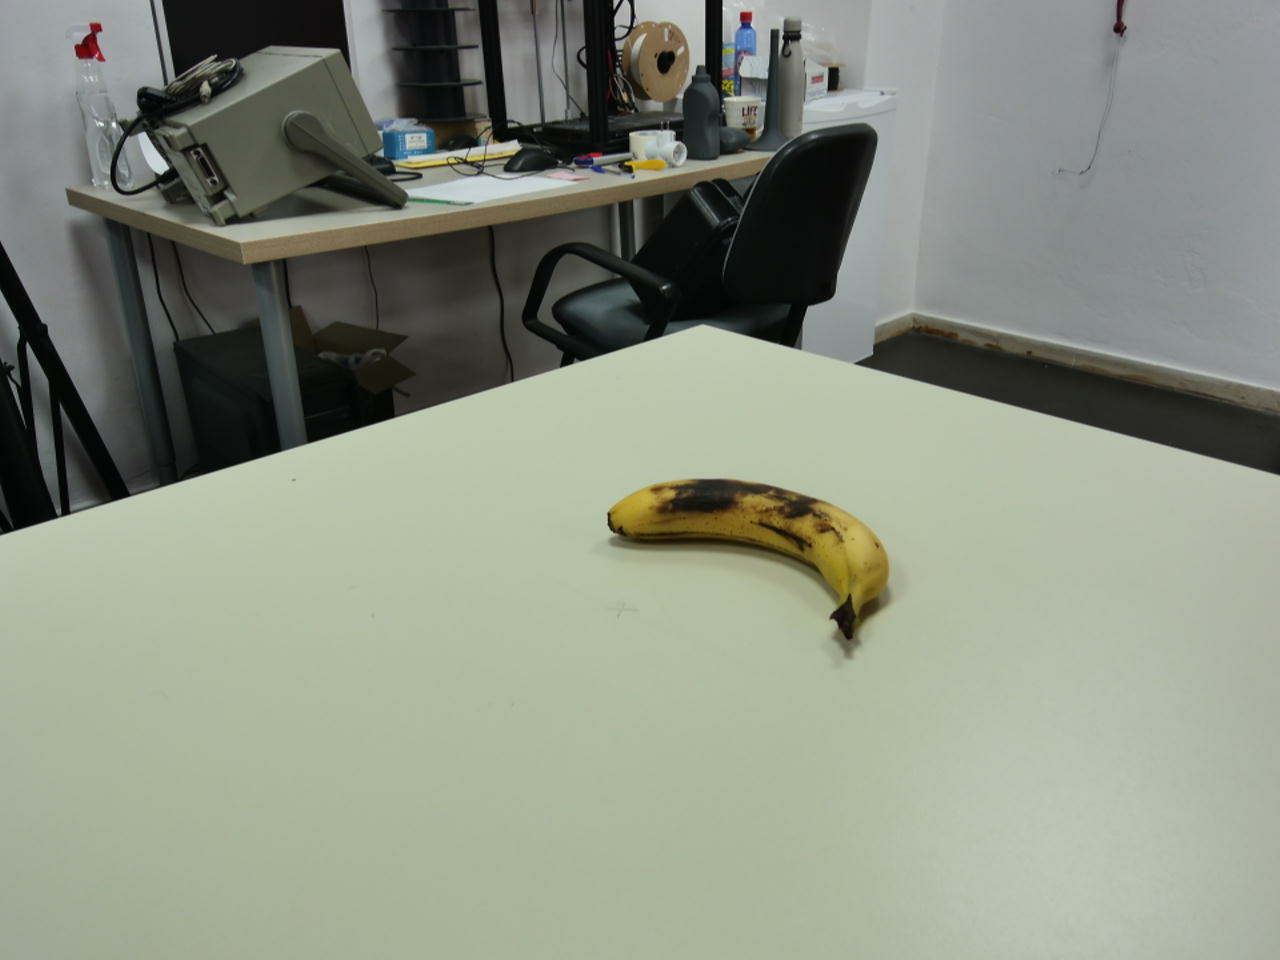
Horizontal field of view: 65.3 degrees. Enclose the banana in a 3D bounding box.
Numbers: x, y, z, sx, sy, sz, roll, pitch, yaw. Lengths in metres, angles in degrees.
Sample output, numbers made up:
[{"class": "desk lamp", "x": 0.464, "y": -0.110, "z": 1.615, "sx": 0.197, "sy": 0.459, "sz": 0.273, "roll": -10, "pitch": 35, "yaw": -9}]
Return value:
[{"class": "banana", "x": 0.075, "y": 0.034, "z": 0.604, "sx": 0.094, "sy": 0.039, "sz": 0.187, "roll": -22, "pitch": 32, "yaw": -39}]
